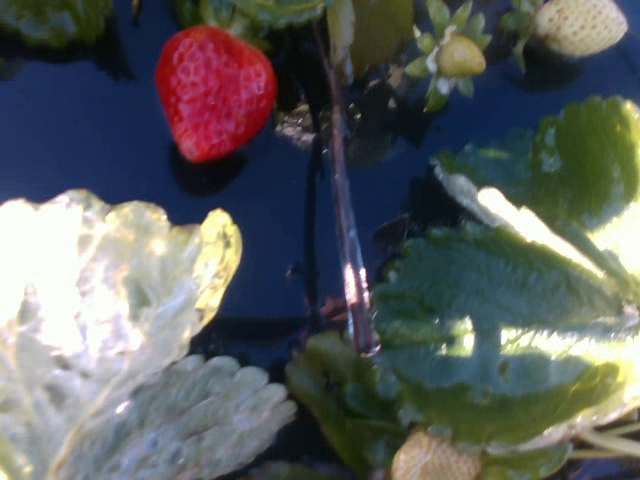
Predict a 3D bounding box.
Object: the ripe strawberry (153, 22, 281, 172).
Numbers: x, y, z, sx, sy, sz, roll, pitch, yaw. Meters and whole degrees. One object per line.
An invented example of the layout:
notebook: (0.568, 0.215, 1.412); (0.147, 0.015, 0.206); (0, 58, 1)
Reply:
ripe strawberry: (-0.027, -0.038, 0.171); (0.039, 0.047, 0.040); (16, -17, -19)
